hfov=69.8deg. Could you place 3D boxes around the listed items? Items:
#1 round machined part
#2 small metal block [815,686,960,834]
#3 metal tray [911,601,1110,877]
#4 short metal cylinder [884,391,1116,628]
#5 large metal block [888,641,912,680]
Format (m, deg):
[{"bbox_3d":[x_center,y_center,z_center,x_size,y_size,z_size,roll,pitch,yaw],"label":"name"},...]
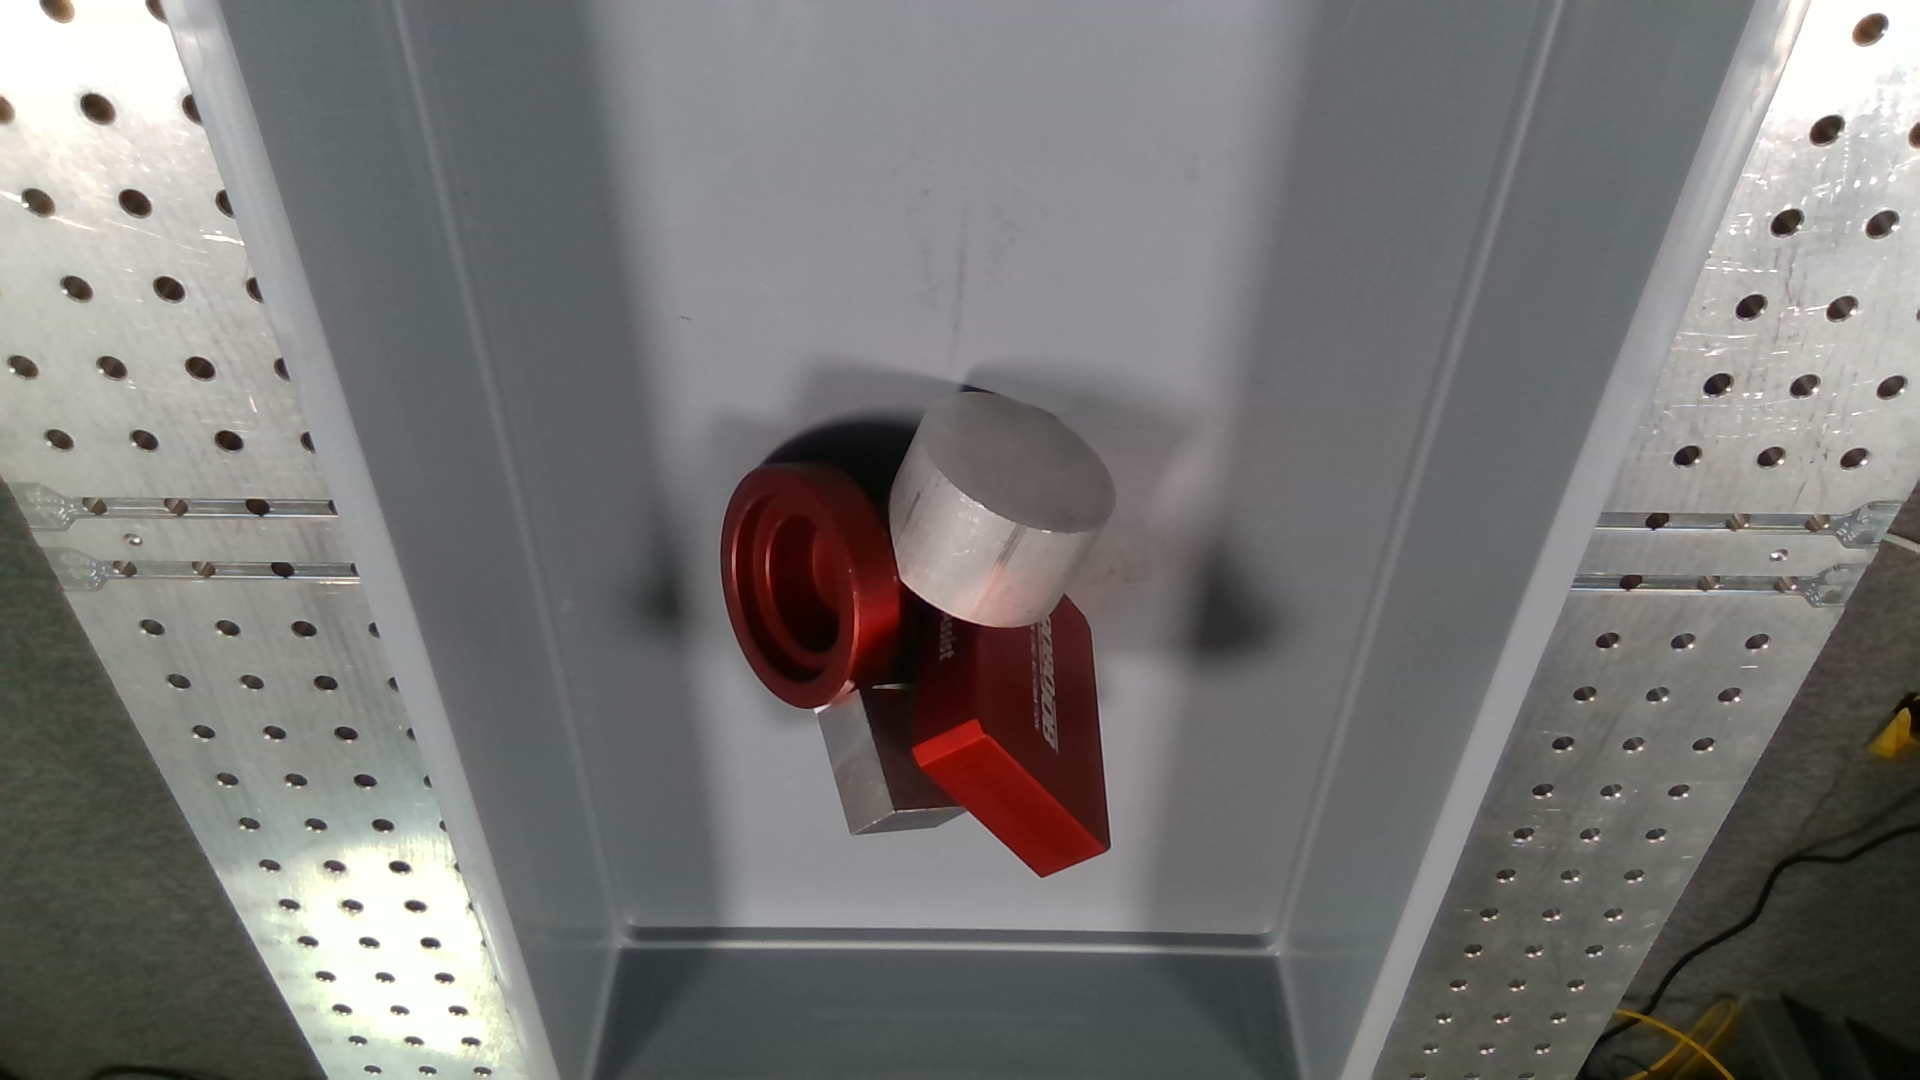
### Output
[{"bbox_3d":[-0.054,0.016,0.556,0.042,0.098,0.098,-12,141,-39],"label":"round machined part"},{"bbox_3d":[-0.025,0.087,0.545,0.025,0.050,0.050,-33,155,32],"label":"small metal block"},{"bbox_3d":[0.021,0.058,0.558,0.030,0.130,0.090,-28,125,23],"label":"metal tray"},{"bbox_3d":[0.013,-0.012,0.531,0.080,0.080,0.050,18,128,-14],"label":"short metal cylinder"},{"bbox_3d":[-0.015,0.071,0.611,0.080,0.050,0.080,-8,130,13],"label":"large metal block"}]
